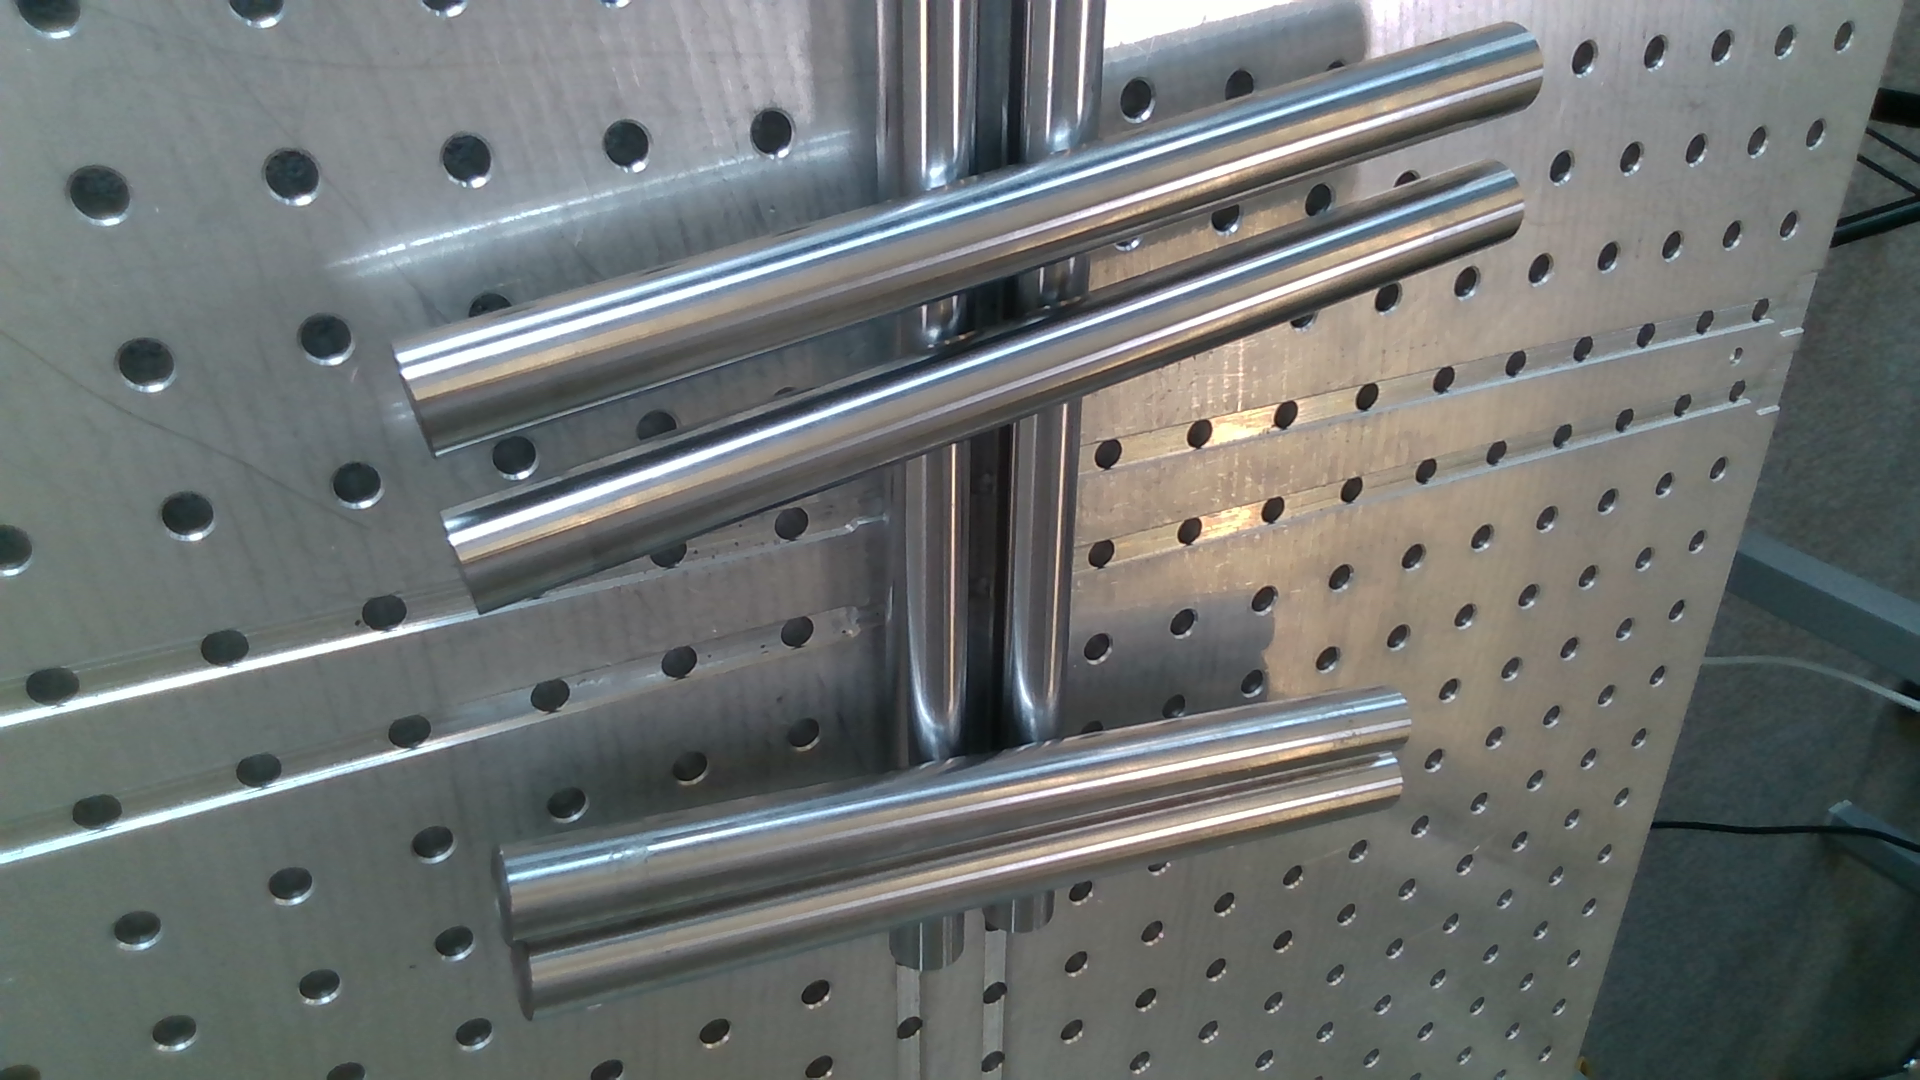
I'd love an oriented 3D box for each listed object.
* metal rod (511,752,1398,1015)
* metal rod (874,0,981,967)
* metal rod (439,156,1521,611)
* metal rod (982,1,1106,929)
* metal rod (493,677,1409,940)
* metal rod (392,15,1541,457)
[{"bbox_3d":[0.019,0.096,0.424,0.300,0.025,0.025,-5,117,-29],"label":"metal rod"},{"bbox_3d":[-0.010,0.000,0.387,0.025,0.025,0.301,-14,121,-25],"label":"metal rod"},{"bbox_3d":[0.023,-0.048,0.349,0.300,0.025,0.025,-22,124,-21],"label":"metal rod"},{"bbox_3d":[0.021,-0.008,0.402,0.025,0.025,0.301,-14,121,-25],"label":"metal rod"},{"bbox_3d":[0.018,0.073,0.411,0.300,0.025,0.025,-5,117,-29],"label":"metal rod"},{"bbox_3d":[0.021,-0.081,0.330,0.300,0.025,0.025,-22,124,-20],"label":"metal rod"}]
